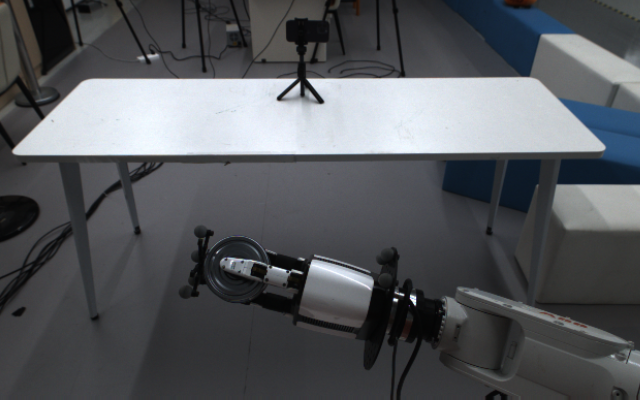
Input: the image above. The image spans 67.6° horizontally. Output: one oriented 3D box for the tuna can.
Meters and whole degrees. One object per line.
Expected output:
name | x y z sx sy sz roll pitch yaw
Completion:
tuna can | -0.104 0.089 0.629 0.085 0.034 0.085 1 74 -5
